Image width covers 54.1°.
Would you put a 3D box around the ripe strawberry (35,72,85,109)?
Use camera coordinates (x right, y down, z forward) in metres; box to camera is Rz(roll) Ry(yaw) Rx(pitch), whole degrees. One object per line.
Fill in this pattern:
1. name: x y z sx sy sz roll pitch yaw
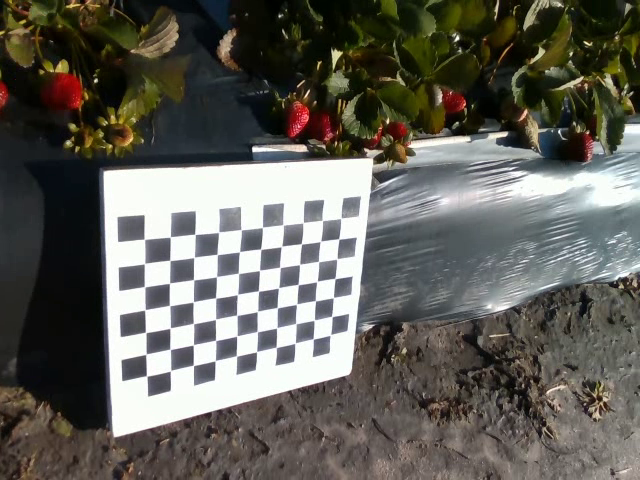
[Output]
1. ripe strawberry: -0.240 -0.136 0.568 0.049 0.042 0.039 41 -6 27
